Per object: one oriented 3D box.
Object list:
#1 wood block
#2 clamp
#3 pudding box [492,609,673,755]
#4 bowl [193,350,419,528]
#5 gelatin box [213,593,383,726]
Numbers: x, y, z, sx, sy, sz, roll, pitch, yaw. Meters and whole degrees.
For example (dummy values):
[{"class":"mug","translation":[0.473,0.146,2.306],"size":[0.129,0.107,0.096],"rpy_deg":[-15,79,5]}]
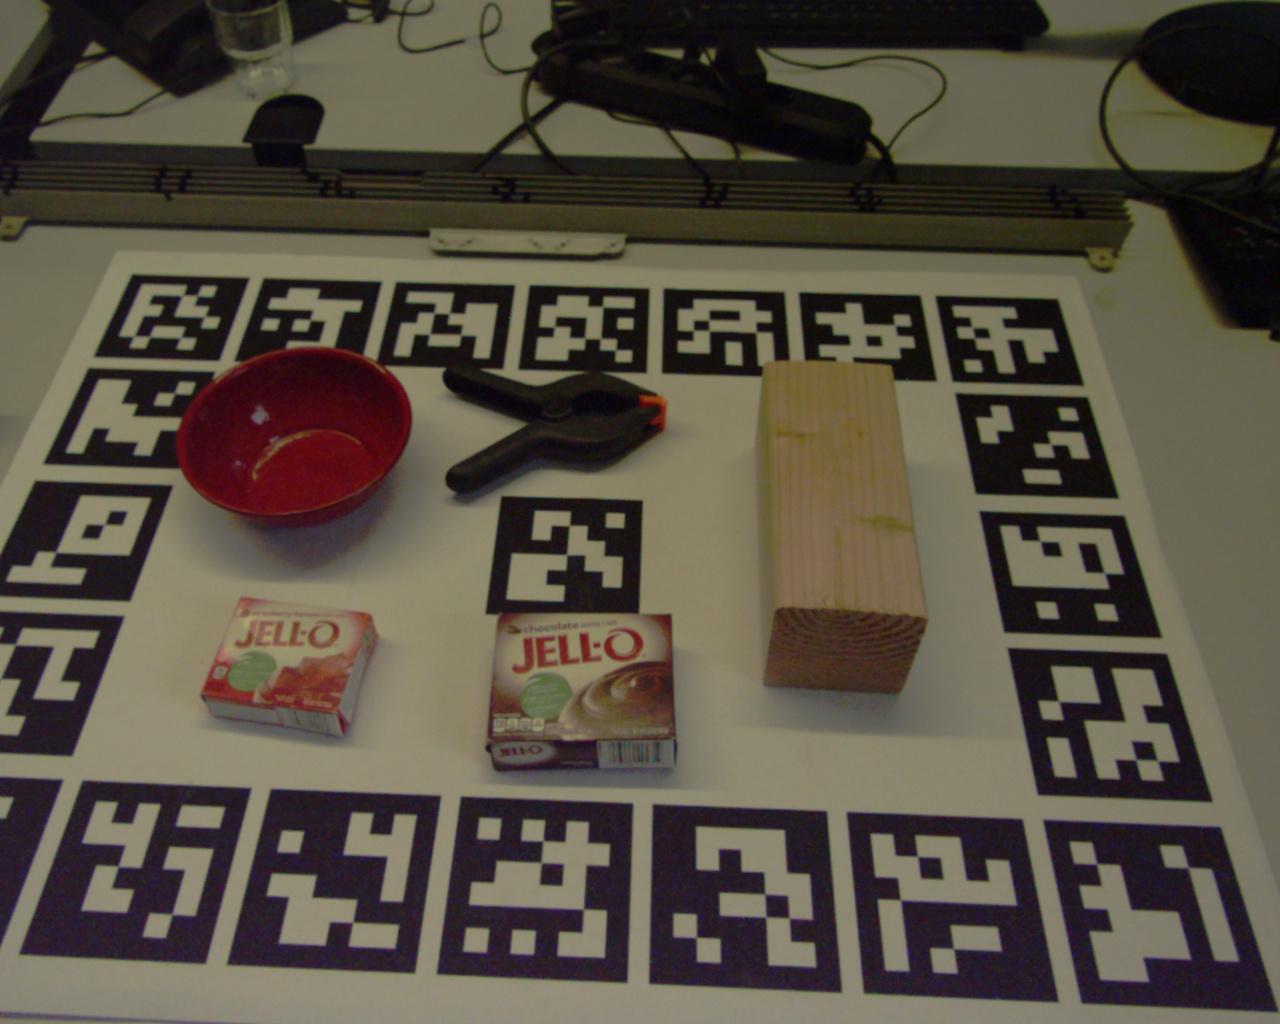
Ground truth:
[{"class":"wood block","translation":[0.126,0.005,0.778],"size":[0.090,0.091,0.207],"rpy_deg":[4,52,1]},{"class":"clamp","translation":[-0.081,-0.066,0.878],"size":[0.164,0.036,0.122],"rpy_deg":[-6,52,-7]},{"class":"pudding box","translation":[-0.035,0.108,0.731],"size":[0.114,0.038,0.090],"rpy_deg":[0,56,2]},{"class":"bowl","translation":[-0.243,-0.044,0.846],"size":[0.161,0.055,0.162],"rpy_deg":[0,55,-1]},{"class":"gelatin box","translation":[-0.221,0.095,0.744],"size":[0.089,0.030,0.073],"rpy_deg":[8,54,6]}]
